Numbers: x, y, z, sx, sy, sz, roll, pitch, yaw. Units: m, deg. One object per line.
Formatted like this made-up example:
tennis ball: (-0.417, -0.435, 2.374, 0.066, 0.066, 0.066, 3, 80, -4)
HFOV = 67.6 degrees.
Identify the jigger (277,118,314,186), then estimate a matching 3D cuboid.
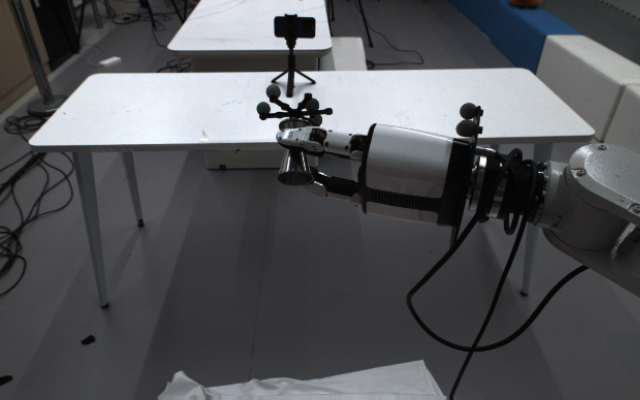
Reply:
jigger: (-0.028, -0.057, 0.562, 0.043, 0.043, 0.071, 1, 70, -2)
